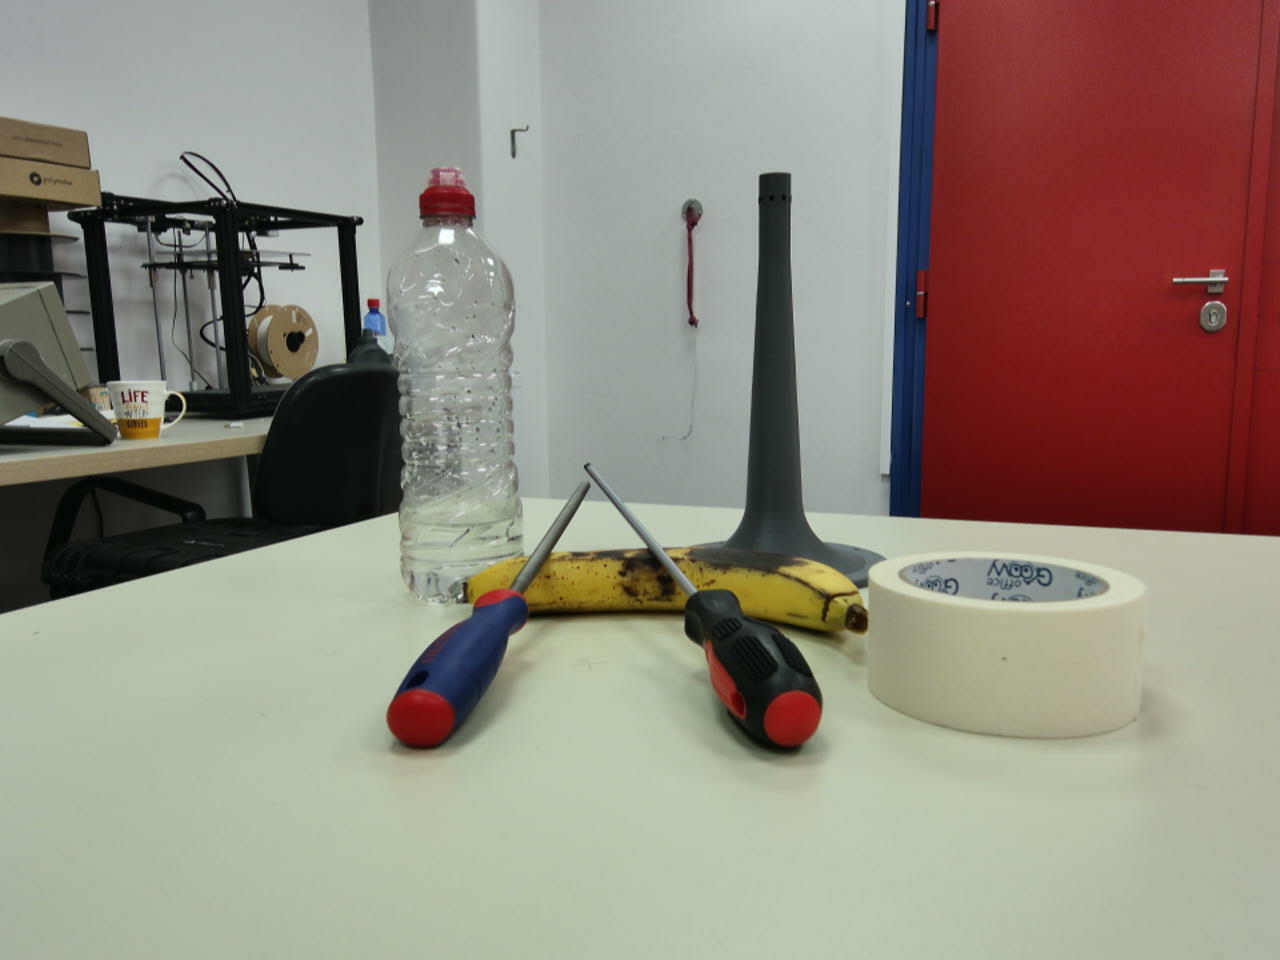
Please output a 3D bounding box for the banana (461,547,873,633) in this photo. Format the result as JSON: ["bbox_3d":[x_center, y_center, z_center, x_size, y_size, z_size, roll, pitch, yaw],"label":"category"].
[{"bbox_3d":[0.018,0.058,0.530,0.222,0.037,0.084,3,6,24],"label":"banana"}]
